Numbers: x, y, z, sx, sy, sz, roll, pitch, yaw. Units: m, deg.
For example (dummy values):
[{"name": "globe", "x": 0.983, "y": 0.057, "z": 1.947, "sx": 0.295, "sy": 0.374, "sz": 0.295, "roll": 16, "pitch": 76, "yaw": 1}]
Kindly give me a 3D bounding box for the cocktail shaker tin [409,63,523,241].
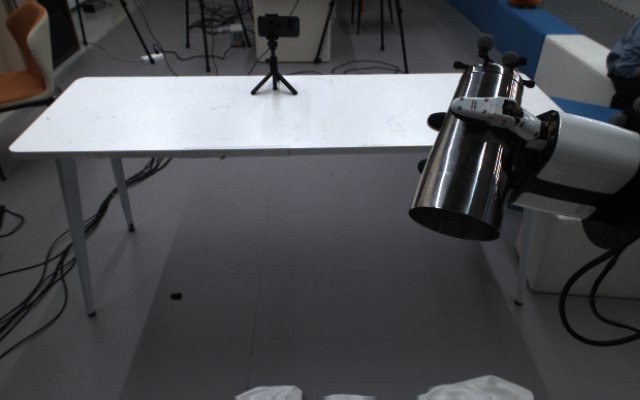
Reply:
[{"name": "cocktail shaker tin", "x": 0.162, "y": -0.052, "z": 0.507, "sx": 0.093, "sy": 0.093, "sz": 0.170, "roll": 15, "pitch": 75, "yaw": 18}]
